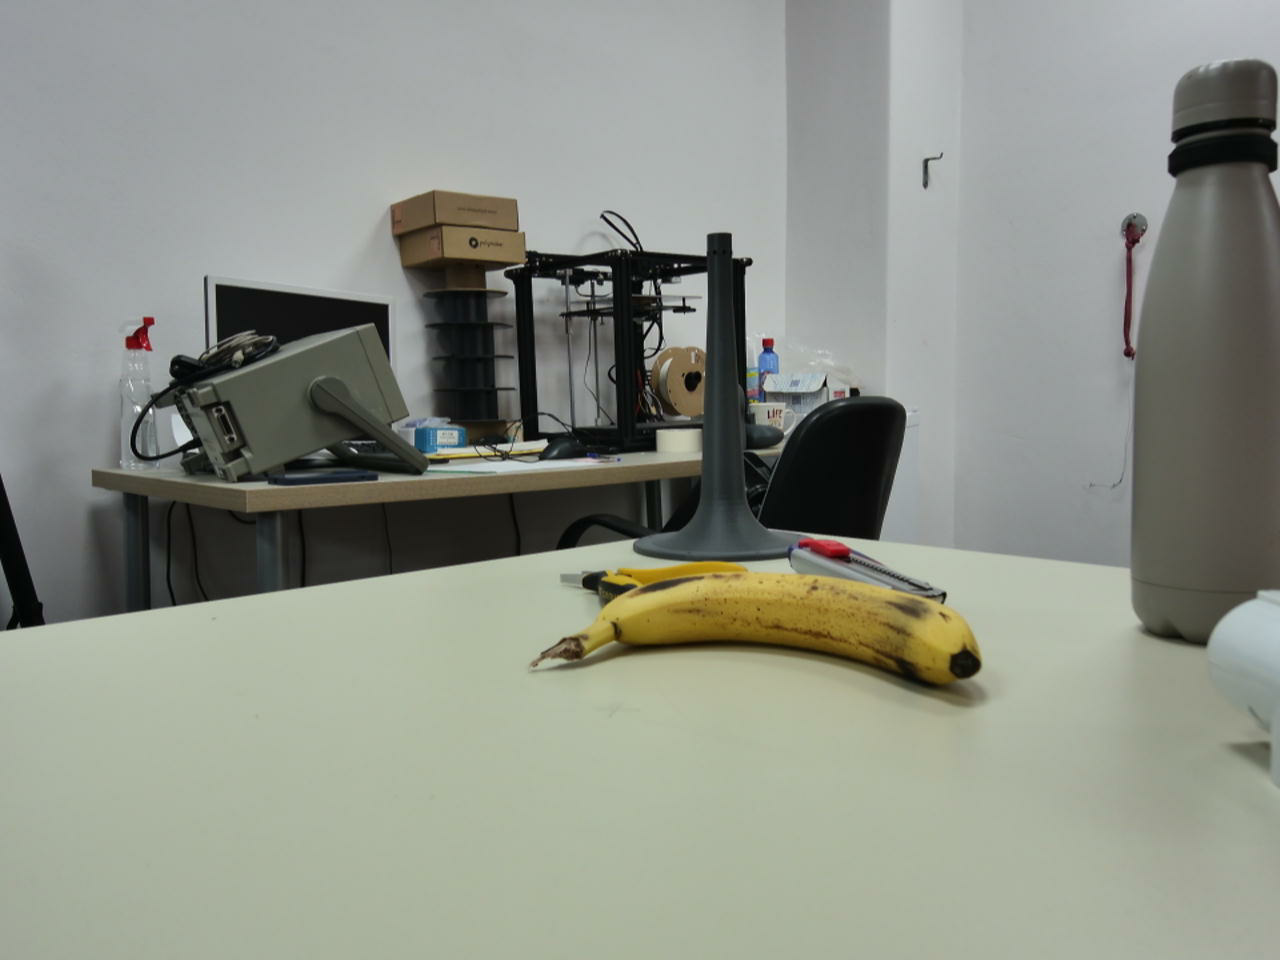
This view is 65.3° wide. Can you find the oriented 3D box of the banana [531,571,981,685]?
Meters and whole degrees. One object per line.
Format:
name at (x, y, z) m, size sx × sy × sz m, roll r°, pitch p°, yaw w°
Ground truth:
banana at (0.060, 0.066, 0.467) m, size 0.186 × 0.038 × 0.097 m, roll 2°, pitch 3°, yaw 22°
